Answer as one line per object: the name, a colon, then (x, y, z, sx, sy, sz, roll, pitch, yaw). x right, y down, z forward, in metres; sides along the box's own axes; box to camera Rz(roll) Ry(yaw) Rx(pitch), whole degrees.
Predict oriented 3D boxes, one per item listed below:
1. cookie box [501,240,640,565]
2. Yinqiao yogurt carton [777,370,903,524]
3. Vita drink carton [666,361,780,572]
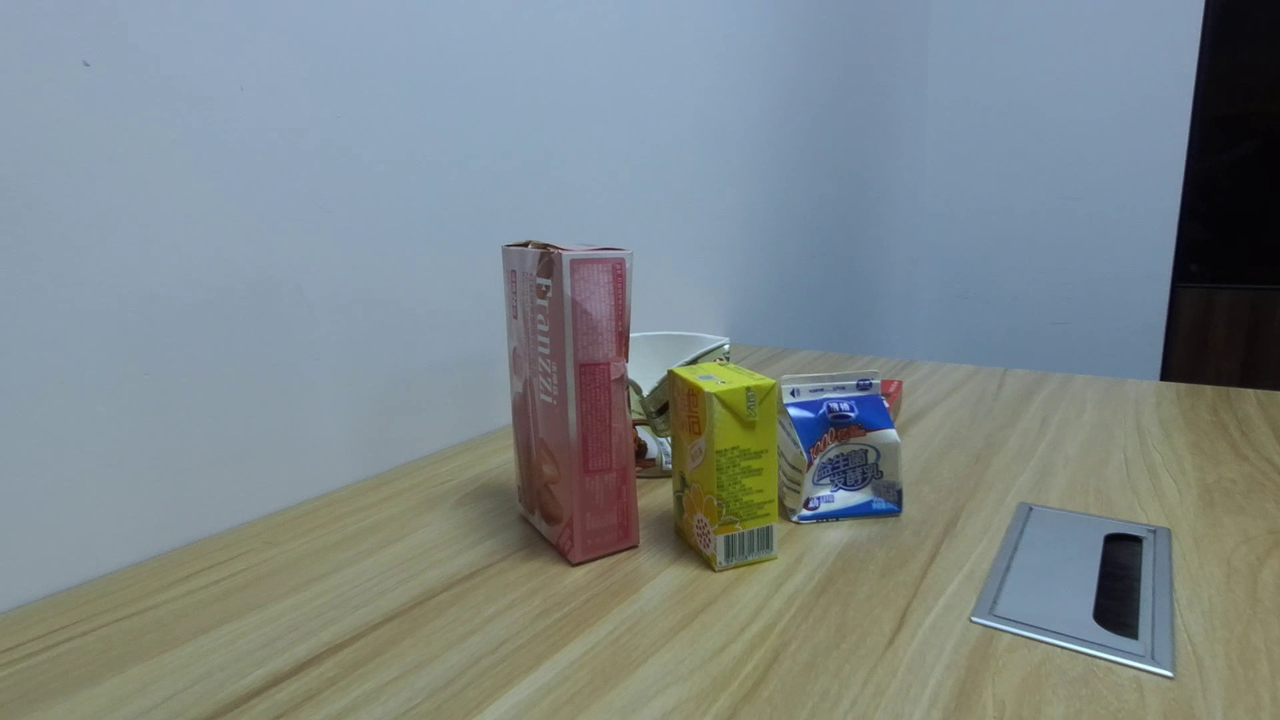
cookie box: (-0.042, 0.021, 0.444, 0.049, 0.187, 0.104, -8, 13, -28)
Yinqiao yogurt carton: (0.129, 0.052, 0.478, 0.077, 0.094, 0.071, -4, 18, -3)
Vita drink carton: (0.049, 0.061, 0.426, 0.044, 0.109, 0.066, -6, 13, -20)
